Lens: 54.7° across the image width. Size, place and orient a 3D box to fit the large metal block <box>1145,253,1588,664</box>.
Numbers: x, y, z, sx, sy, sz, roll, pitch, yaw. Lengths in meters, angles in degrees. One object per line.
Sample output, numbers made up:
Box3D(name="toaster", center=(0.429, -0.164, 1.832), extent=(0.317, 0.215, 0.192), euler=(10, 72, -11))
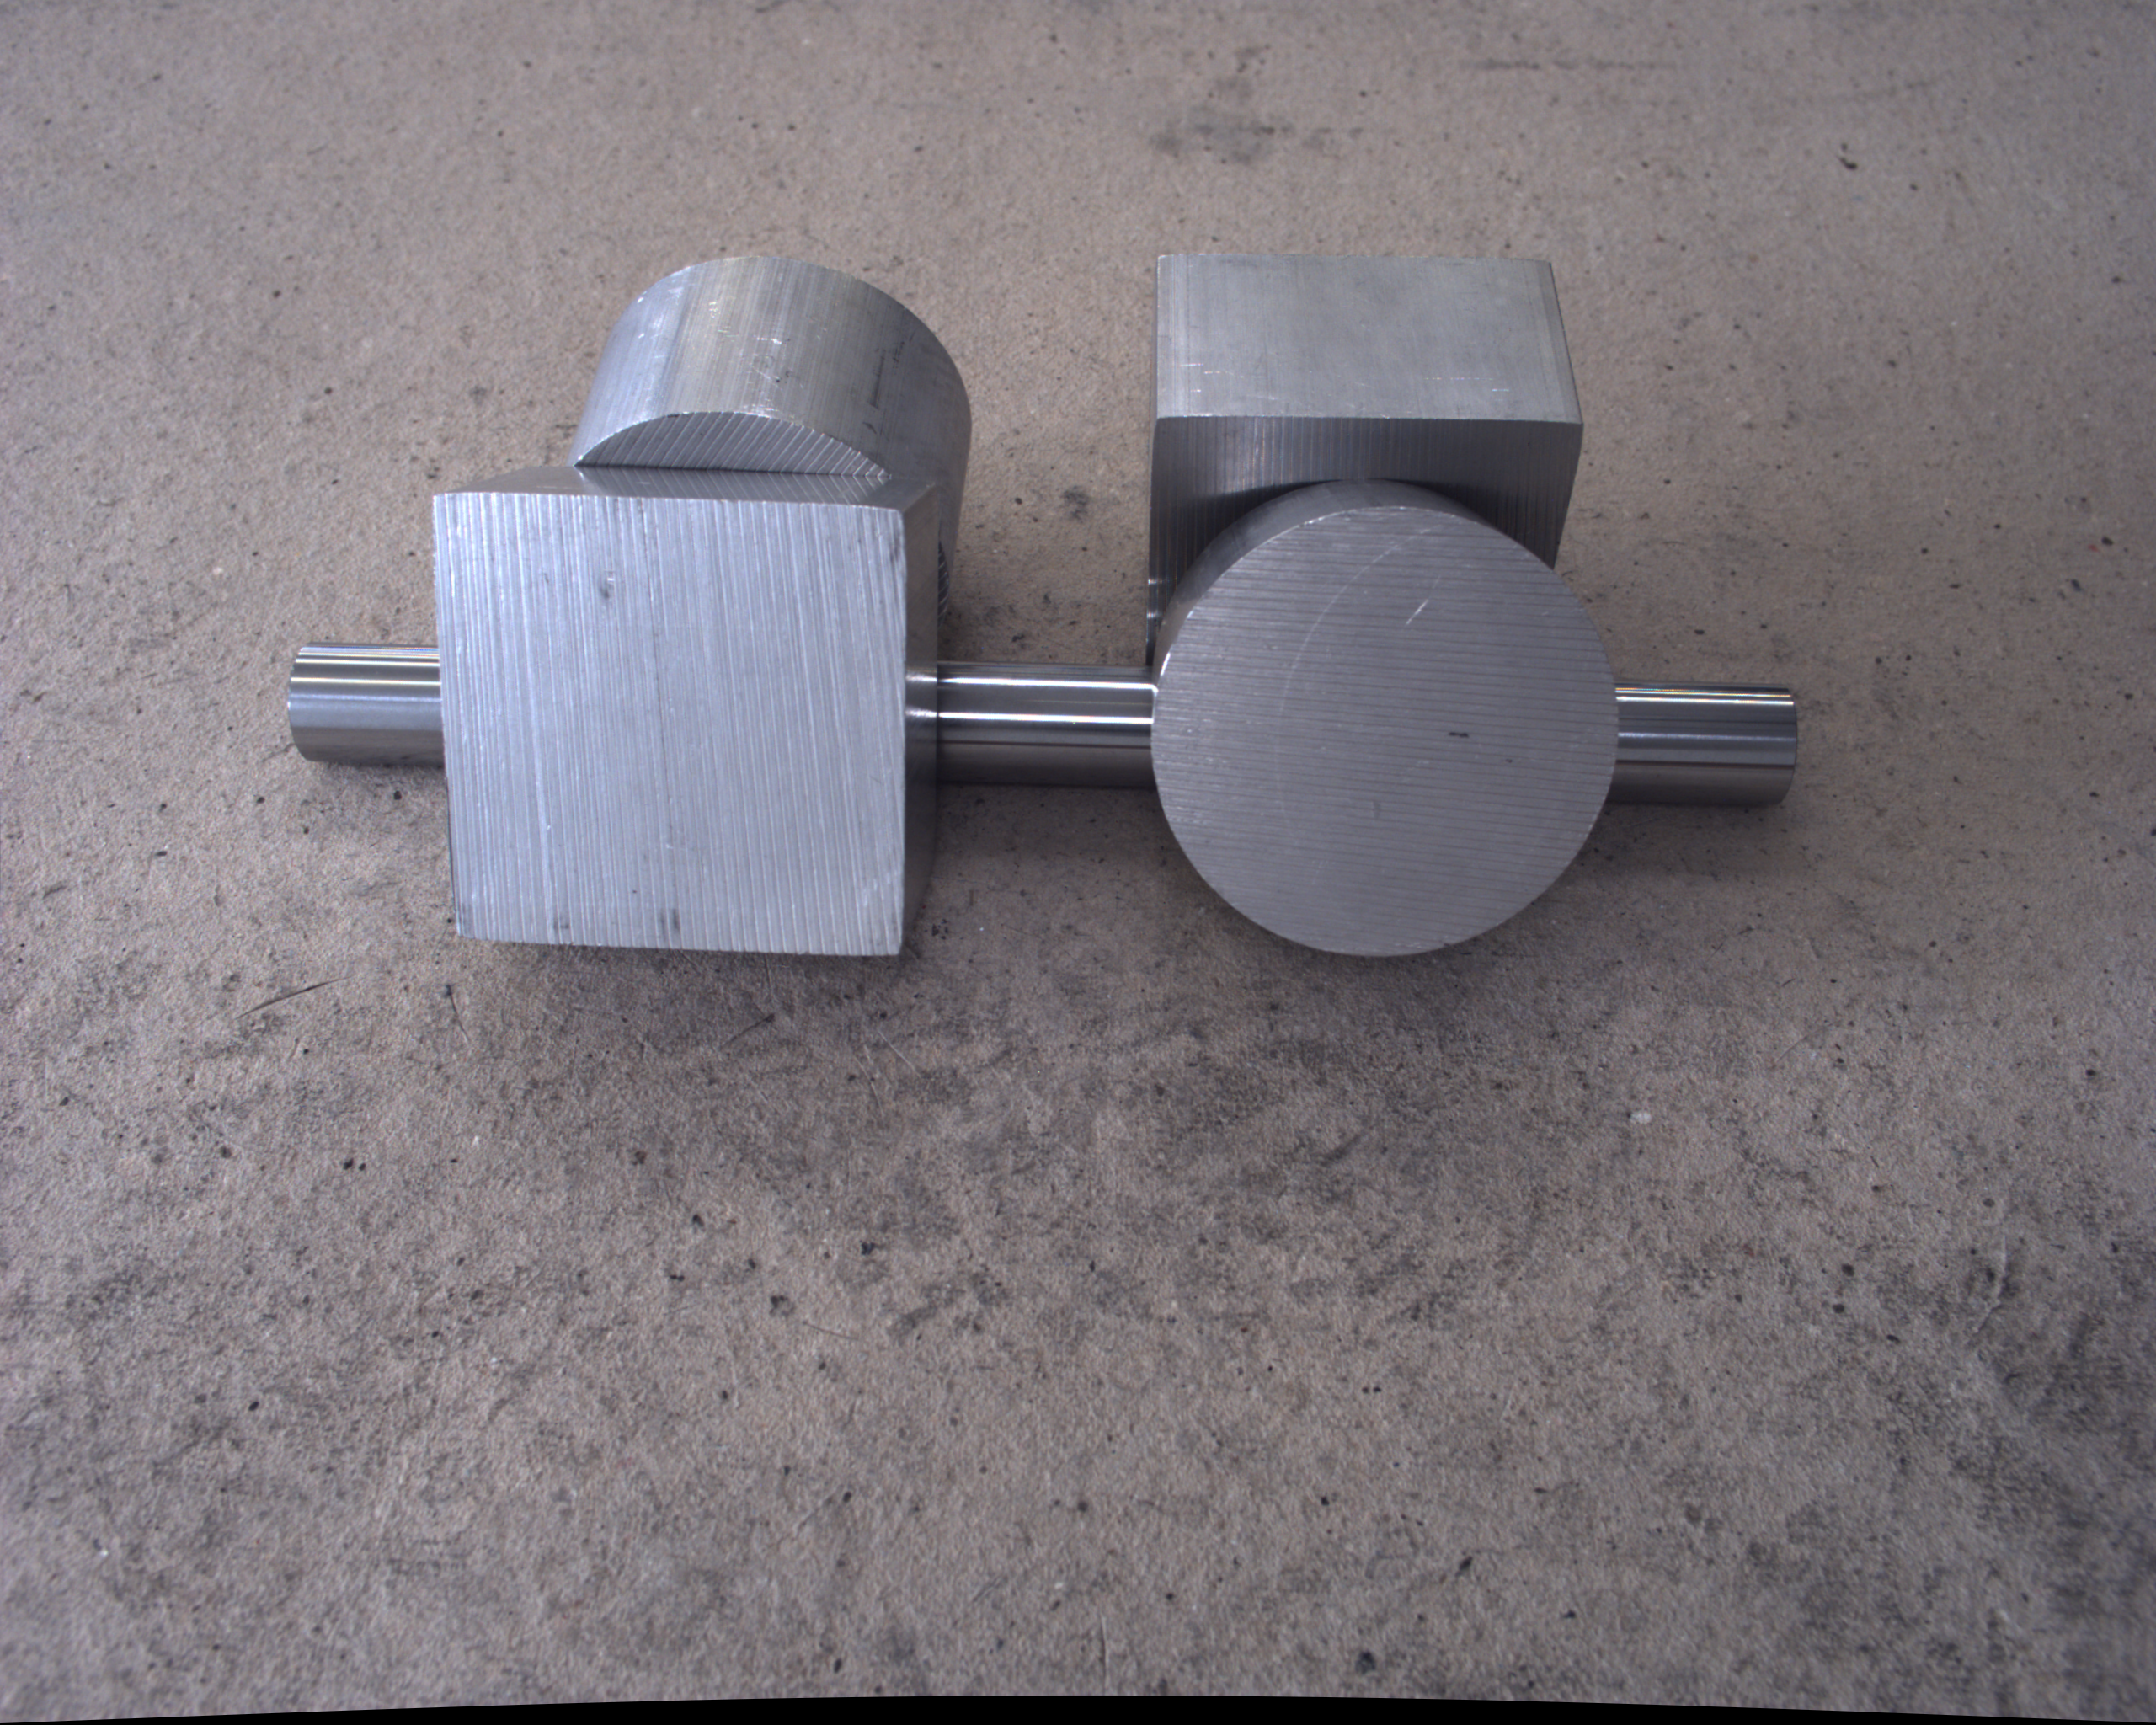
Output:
Box3D(name="large metal block", center=(0.055, -0.077, 0.434), extent=(0.080, 0.080, 0.050), euler=(1, 50, 1))

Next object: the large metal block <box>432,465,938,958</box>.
Box3D(name="large metal block", center=(-0.069, -0.030, 0.385), extent=(0.080, 0.079, 0.050), euler=(2, 16, 1))

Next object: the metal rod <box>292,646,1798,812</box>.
Box3D(name="metal rod", center=(-0.007, -0.028, 0.430), extent=(0.302, 0.025, 0.025), euler=(2, 50, 1))

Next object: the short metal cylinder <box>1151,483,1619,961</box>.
Box3D(name="short metal cylinder", center=(0.054, -0.027, 0.385), extent=(0.080, 0.079, 0.050), euler=(1, 15, 1))

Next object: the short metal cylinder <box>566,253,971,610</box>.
Box3D(name="short metal cylinder", center=(-0.065, -0.078, 0.434), extent=(0.080, 0.080, 0.050), euler=(3, 50, 2))
